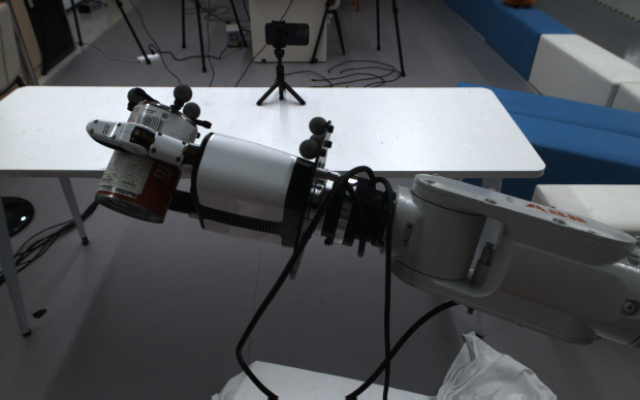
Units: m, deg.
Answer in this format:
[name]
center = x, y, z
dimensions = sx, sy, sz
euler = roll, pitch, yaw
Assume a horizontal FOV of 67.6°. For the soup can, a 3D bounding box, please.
[soup can]
center = -0.167, -0.036, 0.475
dimensions = 0.067, 0.067, 0.101
euler = 11, 72, 13
